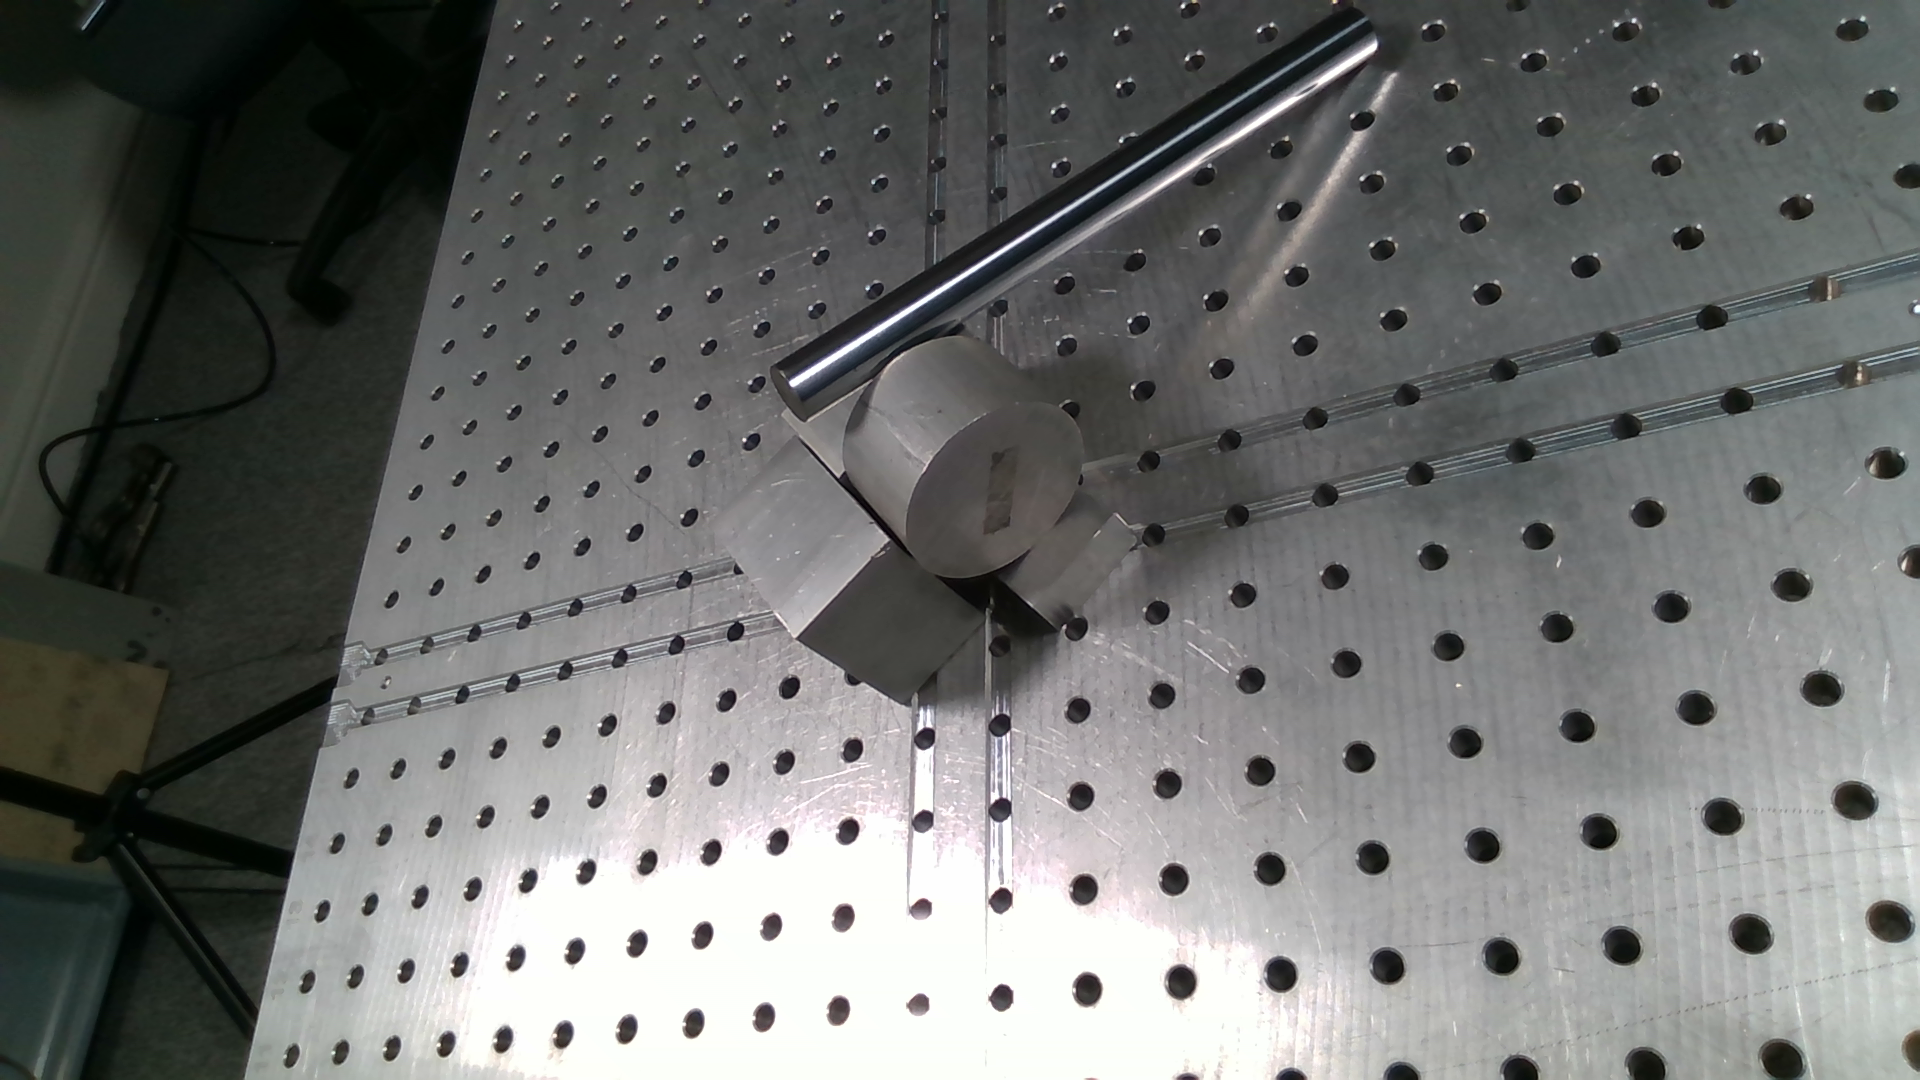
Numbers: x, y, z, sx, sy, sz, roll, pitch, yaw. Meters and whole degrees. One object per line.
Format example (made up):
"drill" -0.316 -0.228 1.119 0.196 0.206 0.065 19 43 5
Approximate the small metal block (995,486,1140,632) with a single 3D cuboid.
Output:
"small metal block" 0.036 0.001 0.566 0.050 0.025 0.050 -49 51 0

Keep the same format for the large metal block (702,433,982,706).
"large metal block" -0.049 0.013 0.574 0.050 0.080 0.080 -46 51 3

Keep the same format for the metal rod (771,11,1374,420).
"metal rod" 0.053 -0.138 0.561 0.300 0.025 0.025 -35 49 -16

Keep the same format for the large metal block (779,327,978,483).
"large metal block" -0.015 -0.050 0.590 0.080 0.080 0.050 -46 51 3

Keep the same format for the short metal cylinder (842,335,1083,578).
"short metal cylinder" 0.001 -0.032 0.537 0.080 0.080 0.050 -45 51 3
